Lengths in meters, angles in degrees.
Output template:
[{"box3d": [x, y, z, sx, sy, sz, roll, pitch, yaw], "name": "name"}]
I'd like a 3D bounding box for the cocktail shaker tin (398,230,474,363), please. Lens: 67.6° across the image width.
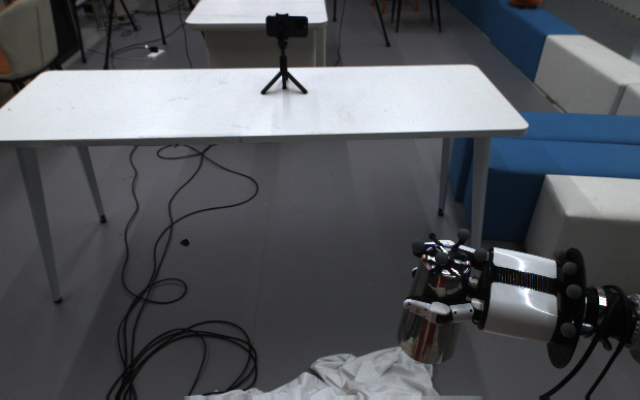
[{"box3d": [0.170, 0.143, 0.697, 0.093, 0.170, 0.093, 1, 39, 0], "name": "cocktail shaker tin"}]
